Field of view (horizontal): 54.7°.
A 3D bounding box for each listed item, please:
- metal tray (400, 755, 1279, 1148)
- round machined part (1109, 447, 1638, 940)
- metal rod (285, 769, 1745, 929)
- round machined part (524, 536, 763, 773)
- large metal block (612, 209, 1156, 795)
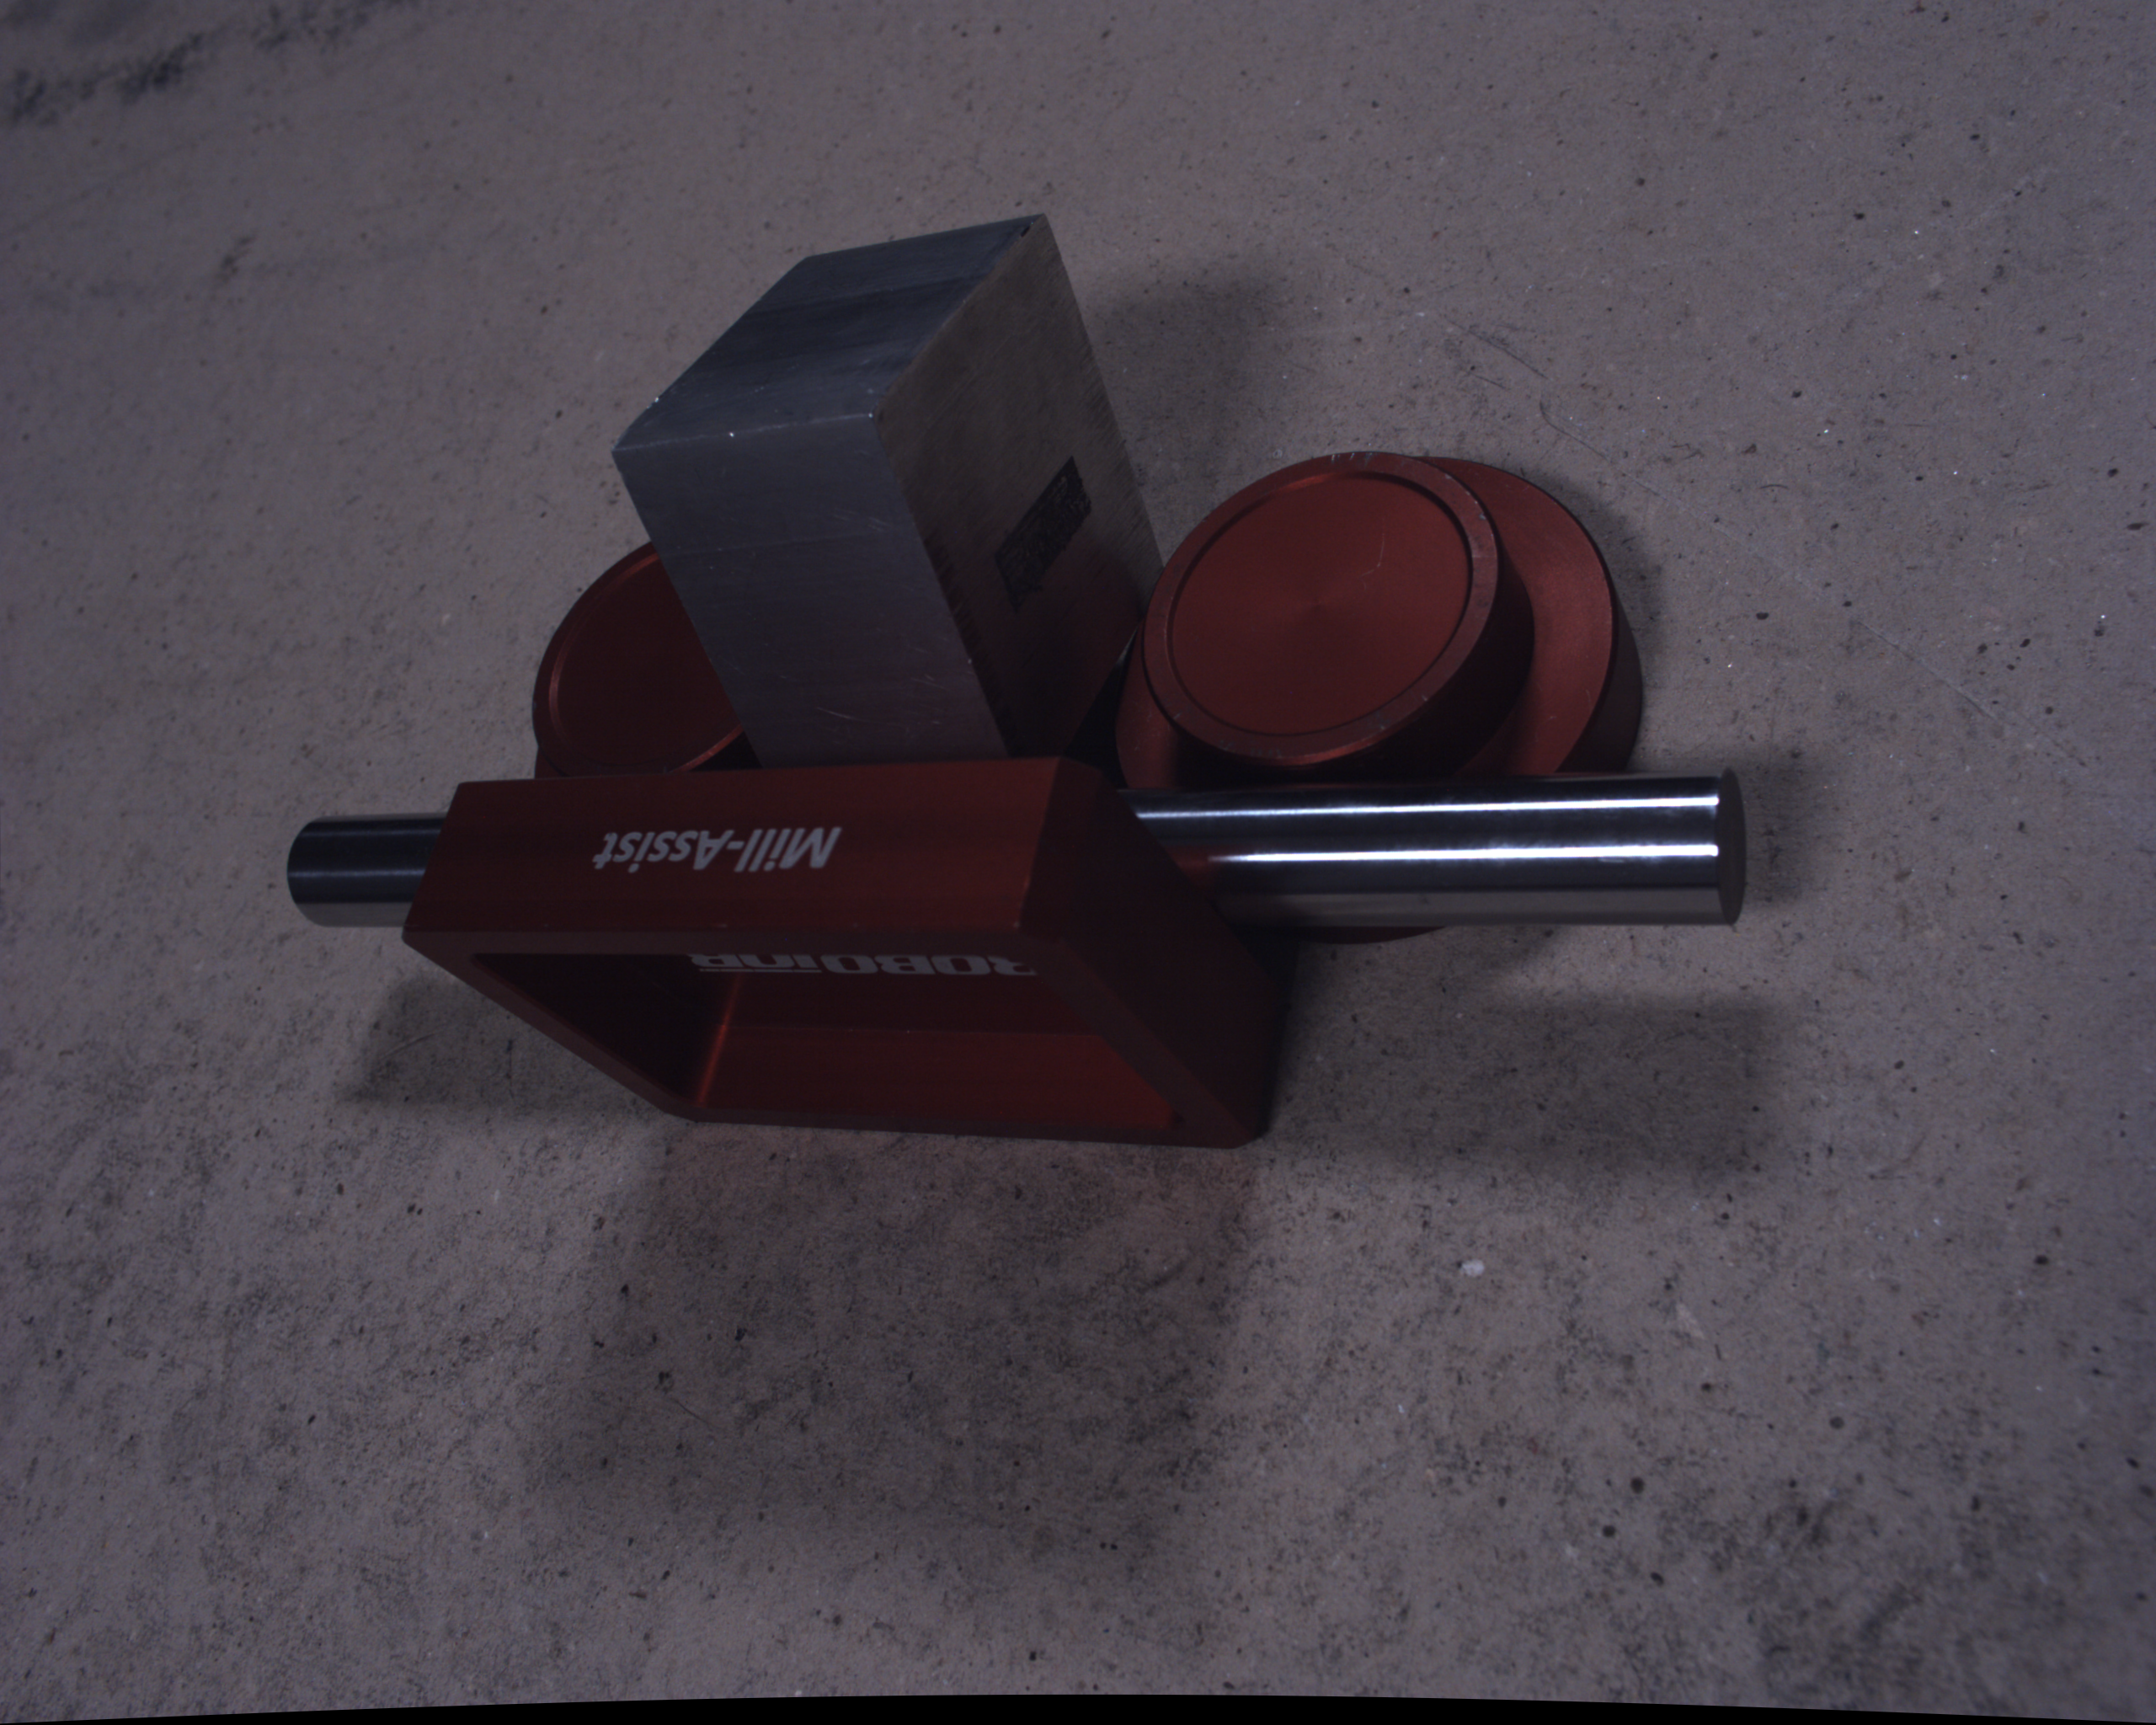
[{"bbox_3d":[-0.041,0.018,0.372,0.130,0.090,0.030,-1,62,27],"label":"metal tray"},{"bbox_3d":[0.050,-0.038,0.389,0.098,0.042,0.098,-13,56,20],"label":"round machined part"},{"bbox_3d":[-0.032,0.000,0.394,0.300,0.025,0.025,-1,61,27],"label":"metal rod"},{"bbox_3d":[-0.080,-0.036,0.454,0.098,0.042,0.098,-13,56,20],"label":"round machined part"},{"bbox_3d":[-0.030,-0.064,0.390,0.050,0.080,0.080,-2,37,26],"label":"large metal block"}]
